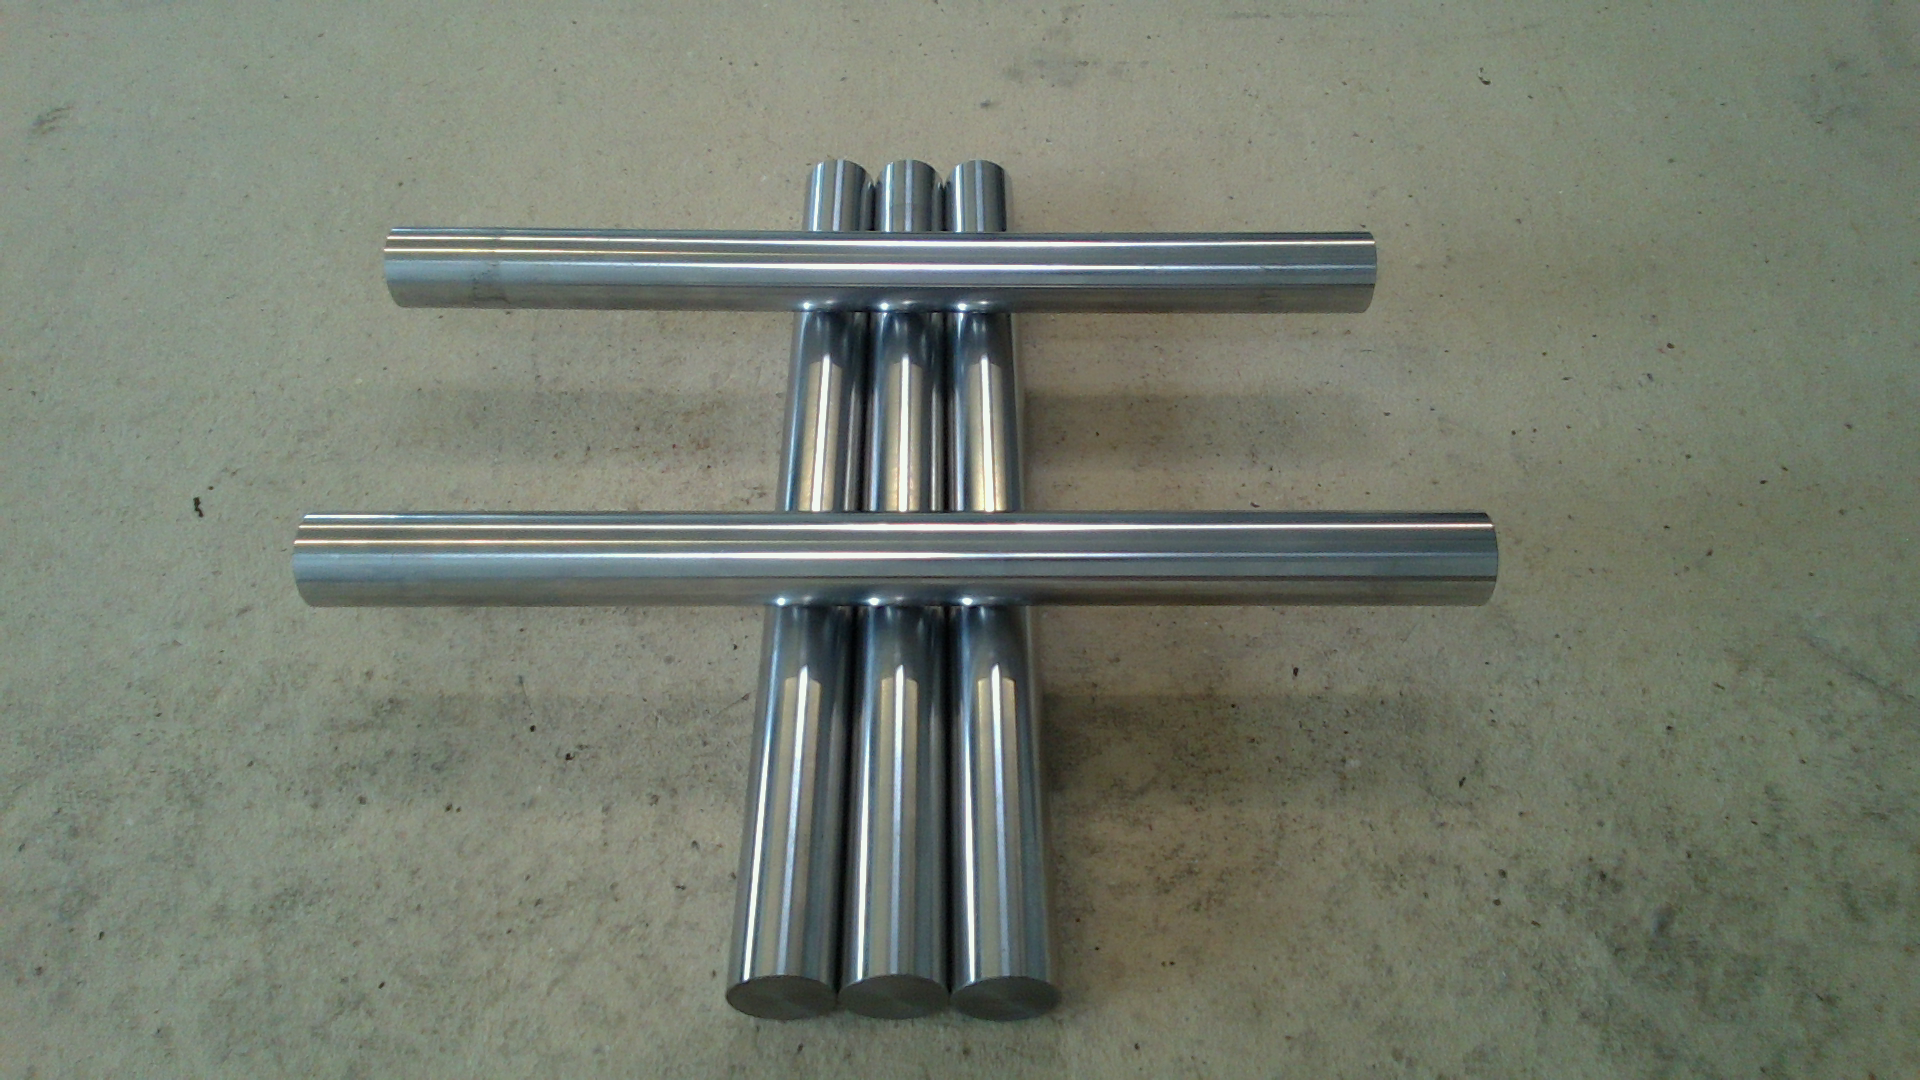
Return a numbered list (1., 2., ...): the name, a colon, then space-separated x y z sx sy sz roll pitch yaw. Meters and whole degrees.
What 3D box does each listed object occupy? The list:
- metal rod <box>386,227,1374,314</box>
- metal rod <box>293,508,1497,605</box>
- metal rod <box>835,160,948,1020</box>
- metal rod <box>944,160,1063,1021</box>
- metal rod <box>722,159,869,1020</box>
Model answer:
1. metal rod: -0.024 -0.084 0.430 0.300 0.025 0.025 0 50 0
2. metal rod: -0.016 0.004 0.355 0.300 0.025 0.025 0 50 0
3. metal rod: -0.017 -0.013 0.402 0.025 0.025 0.300 -1 50 0
4. metal rod: 0.008 -0.012 0.402 0.025 0.025 0.300 -1 50 0
5. metal rod: -0.042 -0.013 0.402 0.025 0.025 0.300 -1 50 0
